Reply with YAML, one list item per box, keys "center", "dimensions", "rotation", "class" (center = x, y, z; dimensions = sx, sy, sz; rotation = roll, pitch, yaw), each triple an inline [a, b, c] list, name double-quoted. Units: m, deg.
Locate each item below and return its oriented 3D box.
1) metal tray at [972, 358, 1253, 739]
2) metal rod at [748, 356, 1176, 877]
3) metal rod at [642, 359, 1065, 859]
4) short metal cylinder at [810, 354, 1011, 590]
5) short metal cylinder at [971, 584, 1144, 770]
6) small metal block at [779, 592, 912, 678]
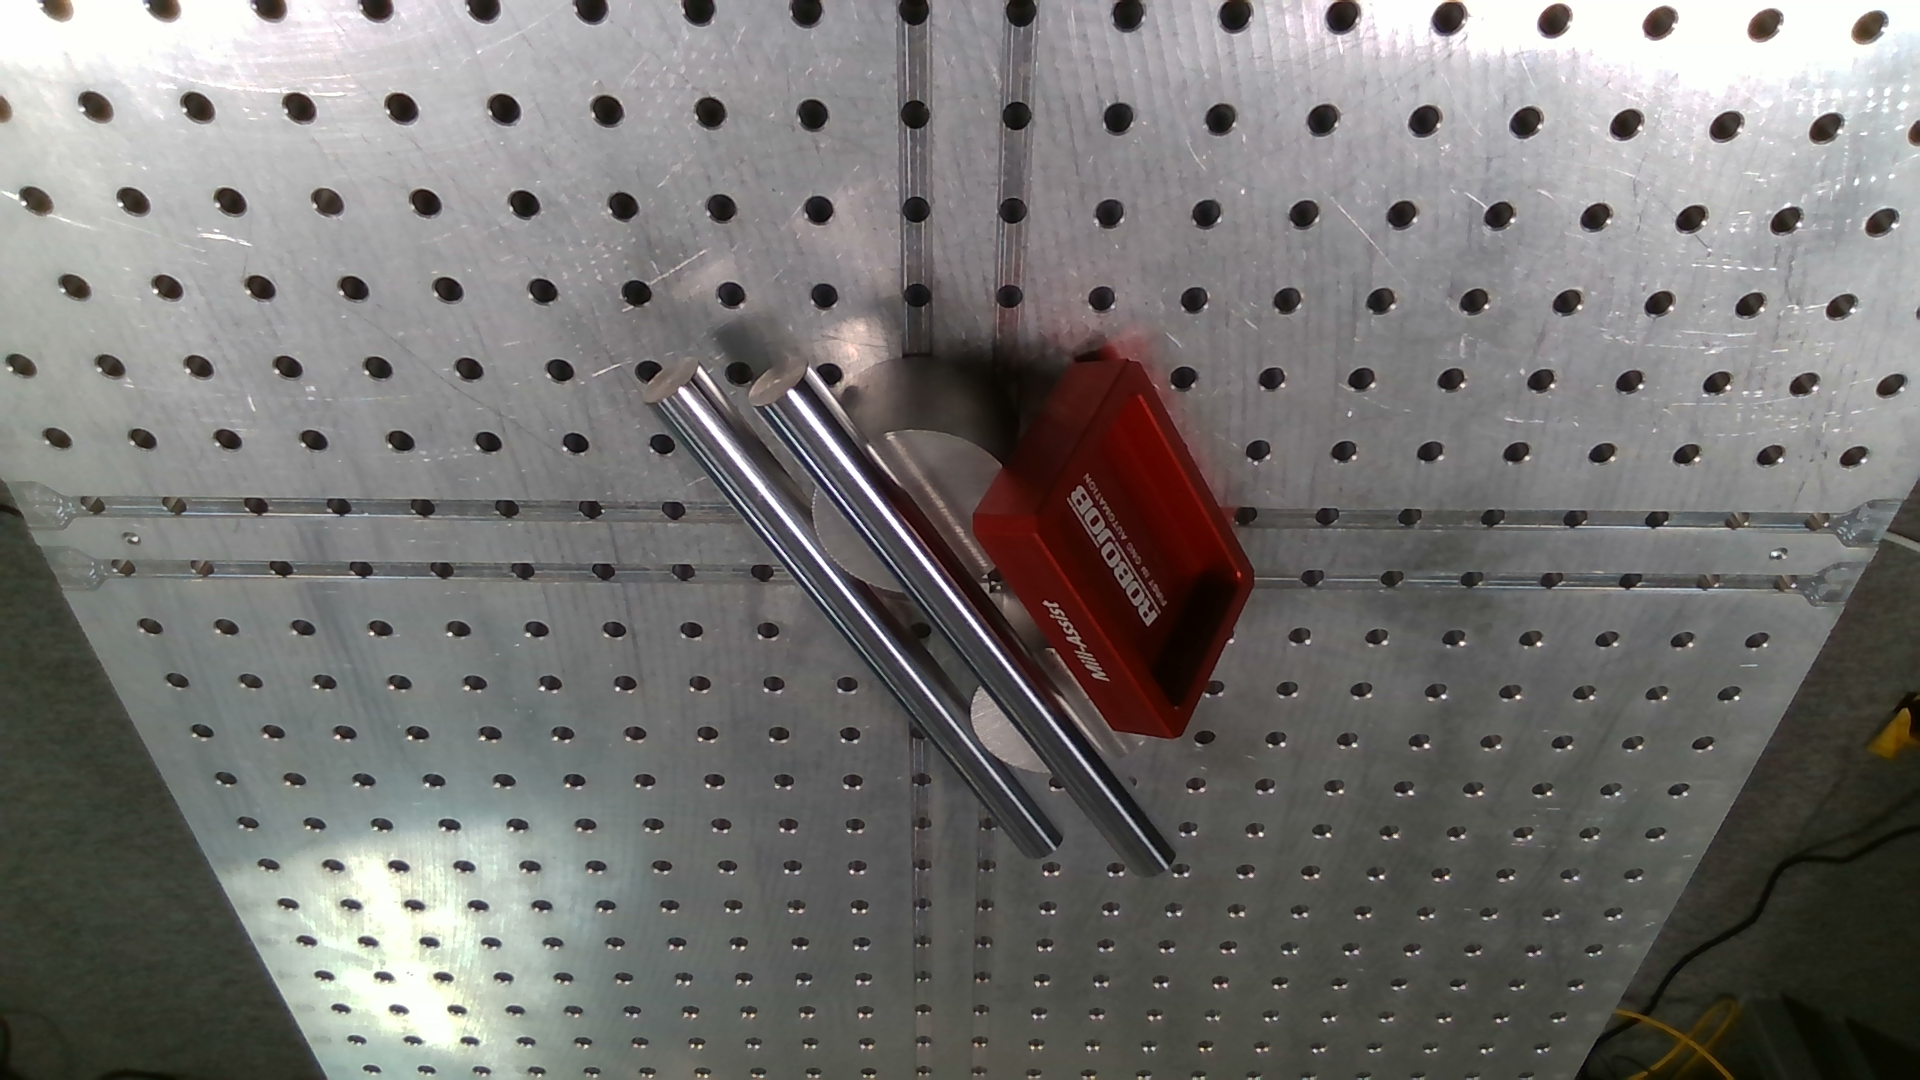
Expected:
- center: [0.065, 0.005, 0.542]
  dimensions: [0.030, 0.090, 0.130]
  rotation: [2, 139, 42]
  class: "metal tray"
- center: [0.013, 0.045, 0.554]
  dimensions: [0.025, 0.025, 0.301]
  rotation: [-24, 126, 19]
  class: "metal rod"
- center: [-0.033, 0.043, 0.585]
  dimensions: [0.025, 0.025, 0.301]
  rotation: [-23, 126, 18]
  class: "metal rod"
- center: [-0.017, -0.026, 0.544]
  dimensions: [0.080, 0.050, 0.080]
  rotation: [0, 130, 0]
  class: "short metal cylinder"
- center: [0.045, 0.058, 0.615]
  dimensions: [0.080, 0.050, 0.080]
  rotation: [0, 130, 0]
  class: "short metal cylinder"
- center: [-0.050, 0.033, 0.609]
  dimensions: [0.050, 0.025, 0.050]
  rotation: [11, 129, -9]
  class: "small metal block"
